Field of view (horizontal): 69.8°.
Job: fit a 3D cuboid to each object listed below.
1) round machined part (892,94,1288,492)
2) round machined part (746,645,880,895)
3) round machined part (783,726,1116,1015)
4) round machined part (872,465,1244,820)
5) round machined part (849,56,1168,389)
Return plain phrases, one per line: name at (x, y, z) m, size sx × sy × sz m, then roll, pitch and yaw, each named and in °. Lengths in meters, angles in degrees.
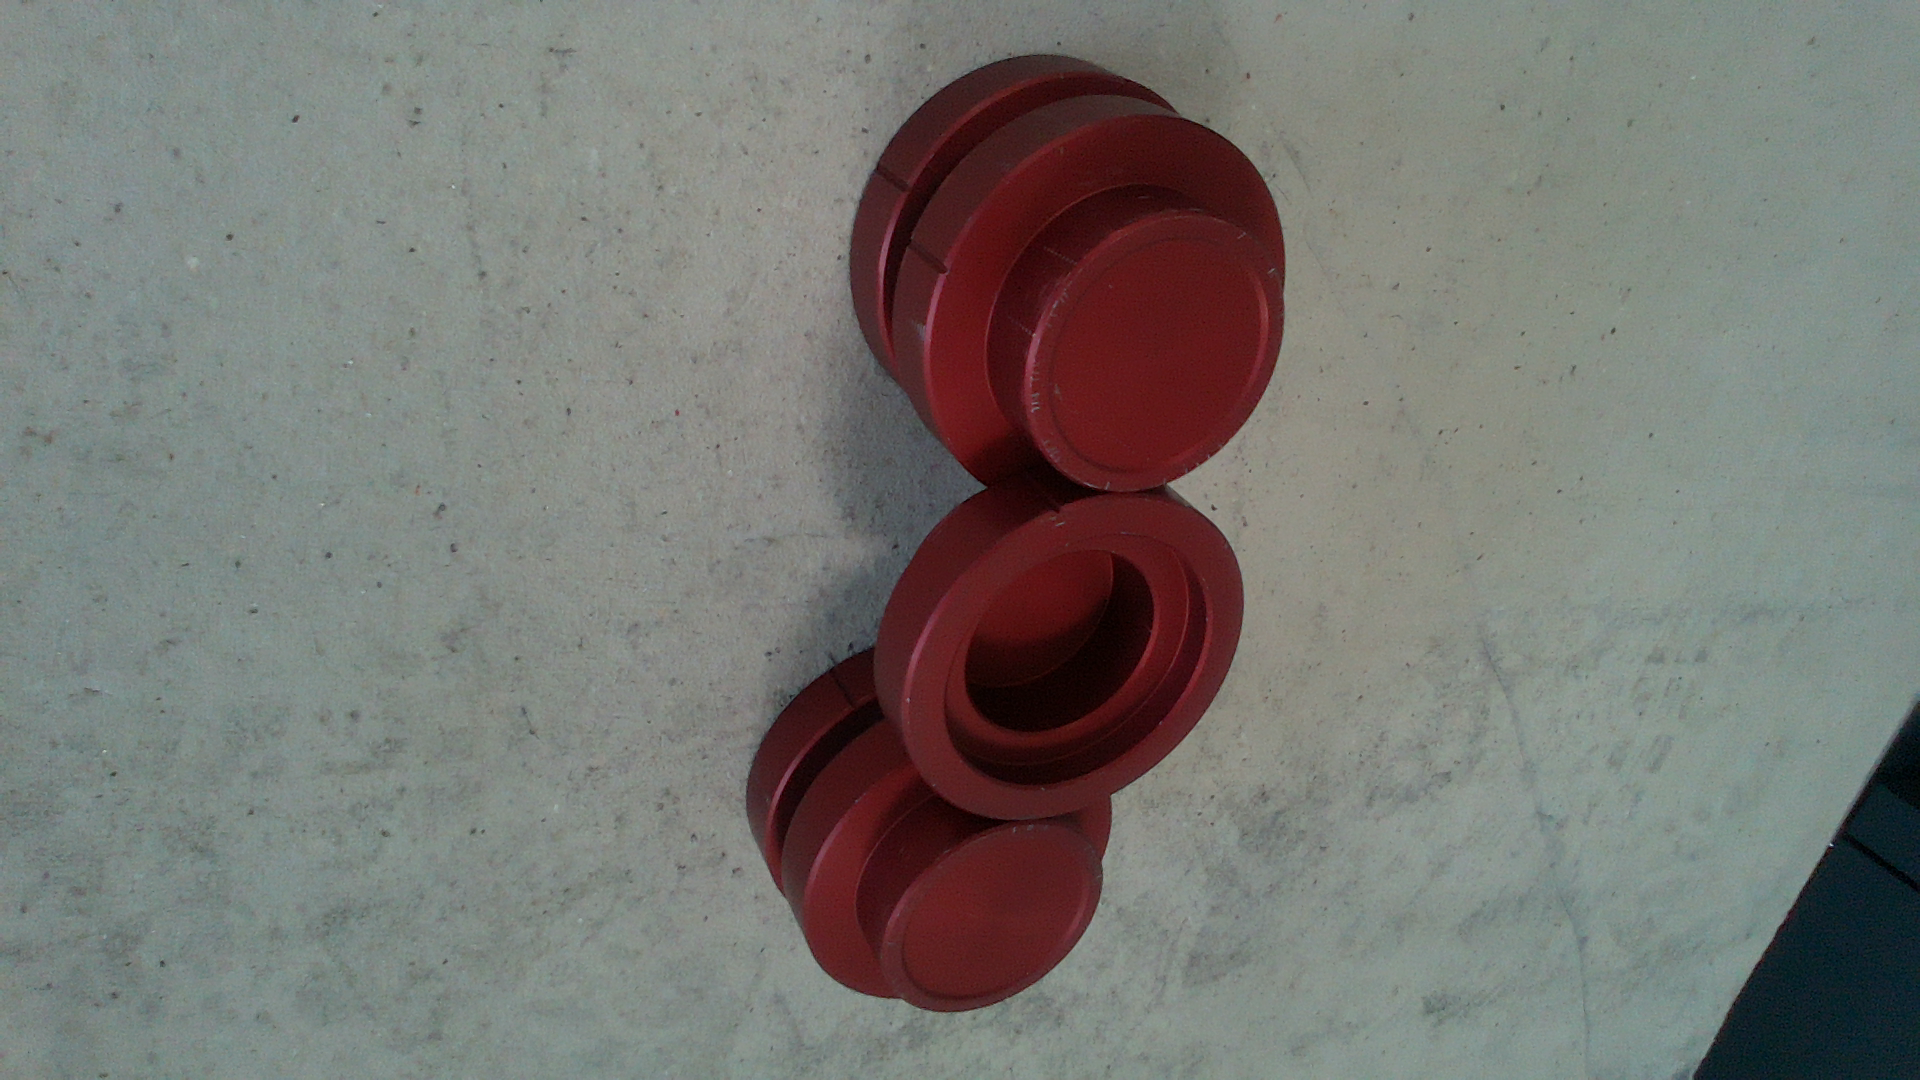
round machined part at (0.037, -0.051, 0.325) m, size 0.098 × 0.042 × 0.098 m, roll -13°, pitch 124°, yaw -20°
round machined part at (-0.013, 0.082, 0.423) m, size 0.098 × 0.042 × 0.098 m, roll -13°, pitch 122°, yaw -21°
round machined part at (0.002, 0.096, 0.395) m, size 0.098 × 0.042 × 0.098 m, roll -13°, pitch 124°, yaw -20°
round machined part at (0.022, 0.022, 0.363) m, size 0.098 × 0.042 × 0.098 m, roll -14°, pitch 124°, yaw -21°
round machined part at (0.025, -0.068, 0.350) m, size 0.098 × 0.042 × 0.098 m, roll -13°, pitch 124°, yaw -19°
